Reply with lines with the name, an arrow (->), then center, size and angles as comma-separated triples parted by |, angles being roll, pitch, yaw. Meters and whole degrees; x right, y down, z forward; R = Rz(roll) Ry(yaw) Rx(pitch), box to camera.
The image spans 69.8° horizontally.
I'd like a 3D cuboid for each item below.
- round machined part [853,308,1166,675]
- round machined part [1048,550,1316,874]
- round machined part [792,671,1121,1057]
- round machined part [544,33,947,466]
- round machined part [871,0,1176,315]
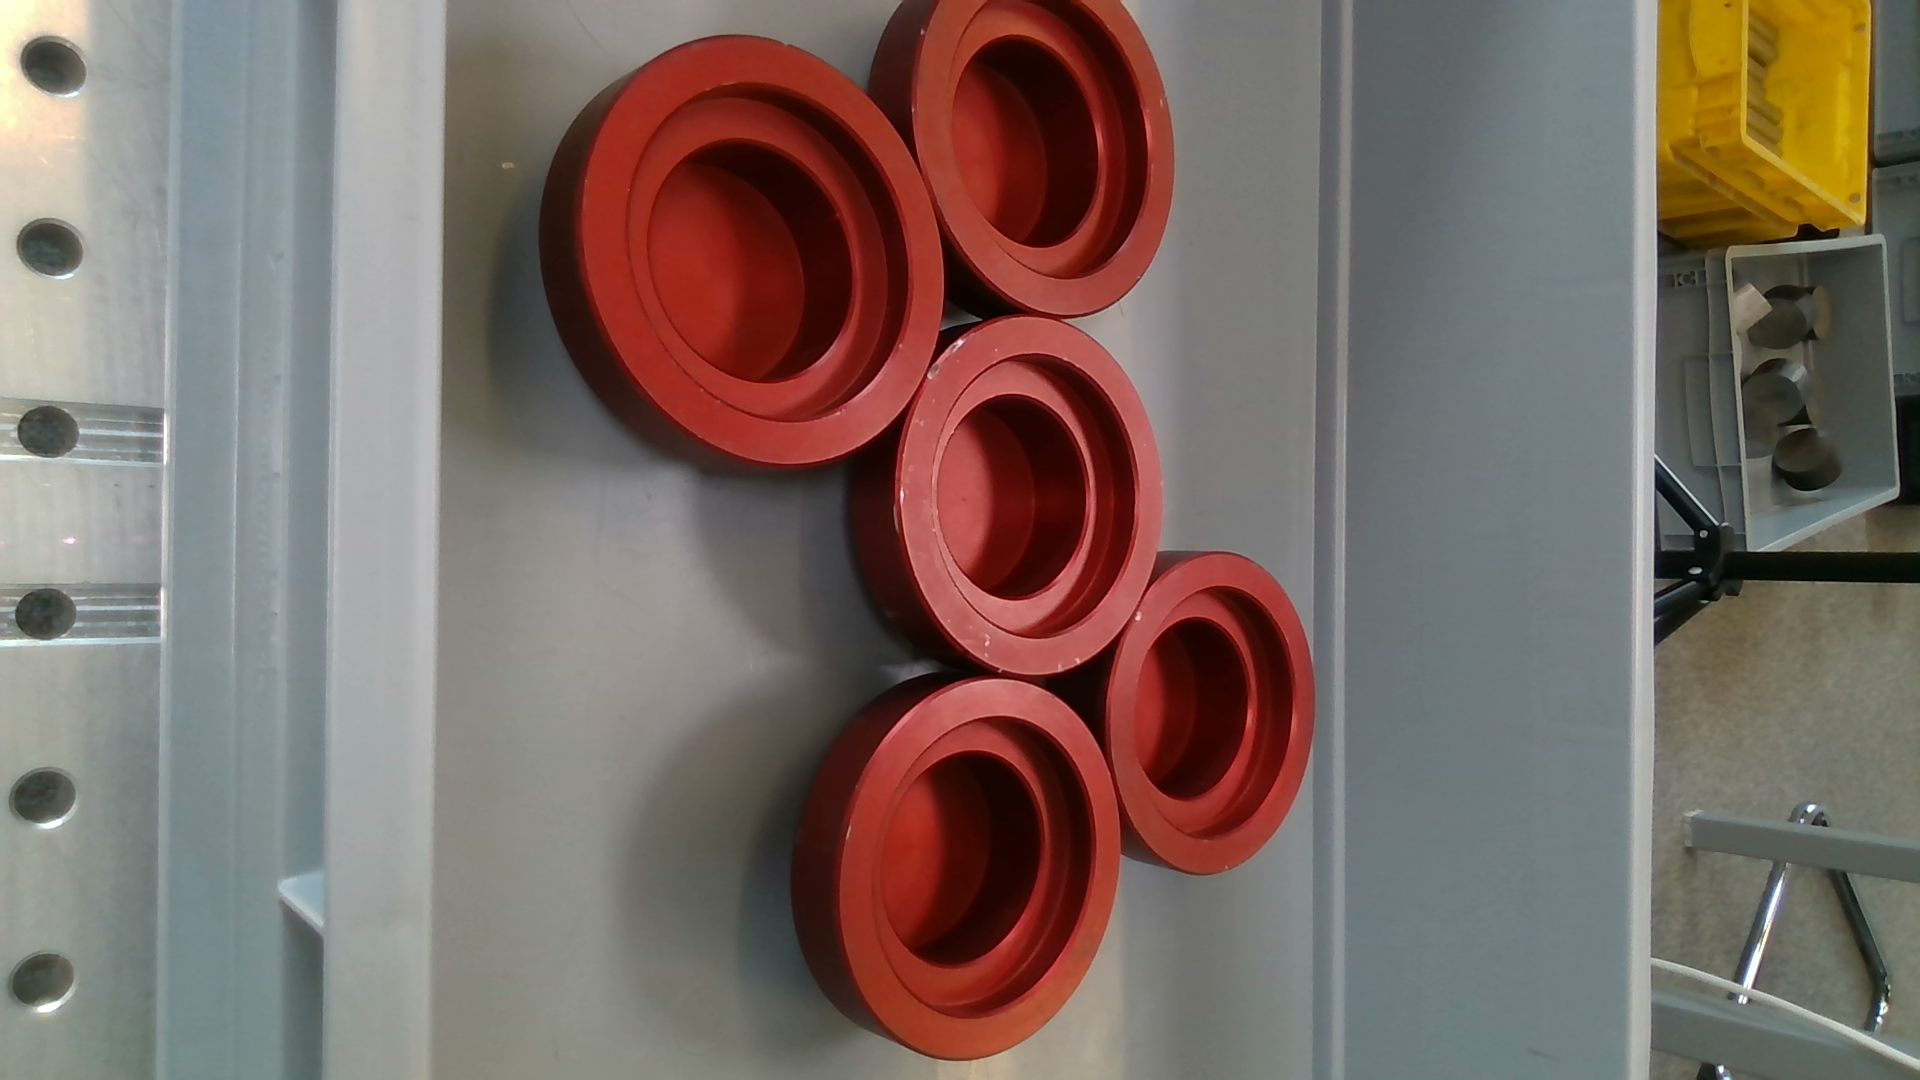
round machined part -> 0.009, -0.013, 0.384 | 0.098, 0.042, 0.098 | 0, 90, -40
round machined part -> 0.066, 0.052, 0.433 | 0.098, 0.042, 0.098 | 0, 90, -40
round machined part -> -0.005, 0.084, 0.374 | 0.098, 0.042, 0.098 | 0, 90, -40
round machined part -> -0.054, -0.066, 0.331 | 0.098, 0.042, 0.098 | 0, 90, -40
round machined part -> 0.013, -0.110, 0.389 | 0.098, 0.042, 0.098 | 0, 90, -40
